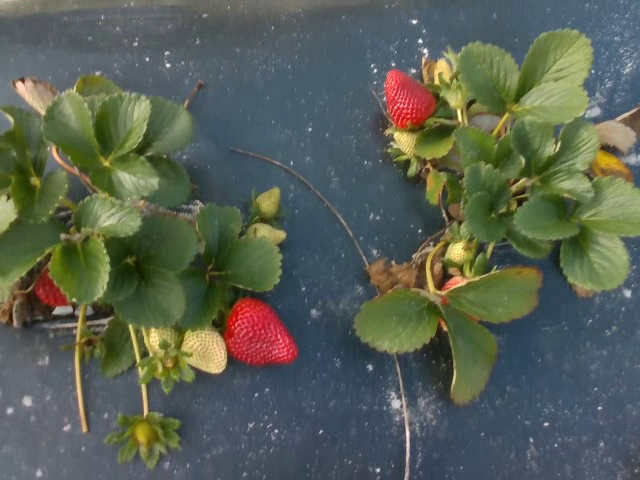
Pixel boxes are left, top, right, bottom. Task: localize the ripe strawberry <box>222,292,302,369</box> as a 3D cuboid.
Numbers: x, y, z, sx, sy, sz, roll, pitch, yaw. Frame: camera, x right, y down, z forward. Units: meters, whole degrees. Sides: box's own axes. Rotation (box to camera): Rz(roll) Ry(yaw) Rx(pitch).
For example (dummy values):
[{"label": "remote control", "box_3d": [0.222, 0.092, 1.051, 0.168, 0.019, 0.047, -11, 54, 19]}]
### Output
[{"label": "ripe strawberry", "box_3d": [-0.040, 0.074, 0.412, 0.055, 0.051, 0.048, 34, 24, 28]}]
